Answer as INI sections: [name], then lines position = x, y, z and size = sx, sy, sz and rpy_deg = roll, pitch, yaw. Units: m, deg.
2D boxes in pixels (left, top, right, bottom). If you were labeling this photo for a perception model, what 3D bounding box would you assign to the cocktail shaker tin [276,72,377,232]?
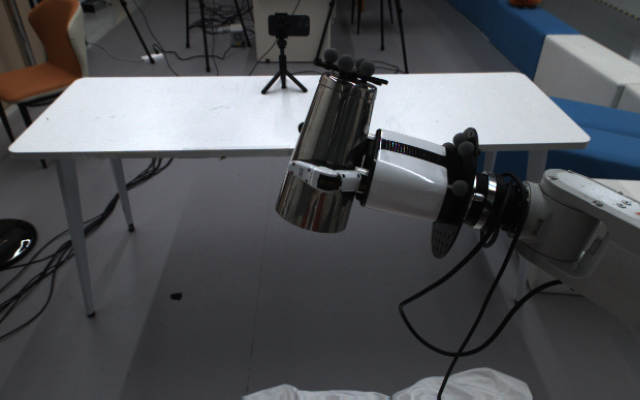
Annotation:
[cocktail shaker tin]
position = 0.013, -0.058, 0.573
size = 0.093, 0.170, 0.093
rpy_deg = 14, 19, -5
